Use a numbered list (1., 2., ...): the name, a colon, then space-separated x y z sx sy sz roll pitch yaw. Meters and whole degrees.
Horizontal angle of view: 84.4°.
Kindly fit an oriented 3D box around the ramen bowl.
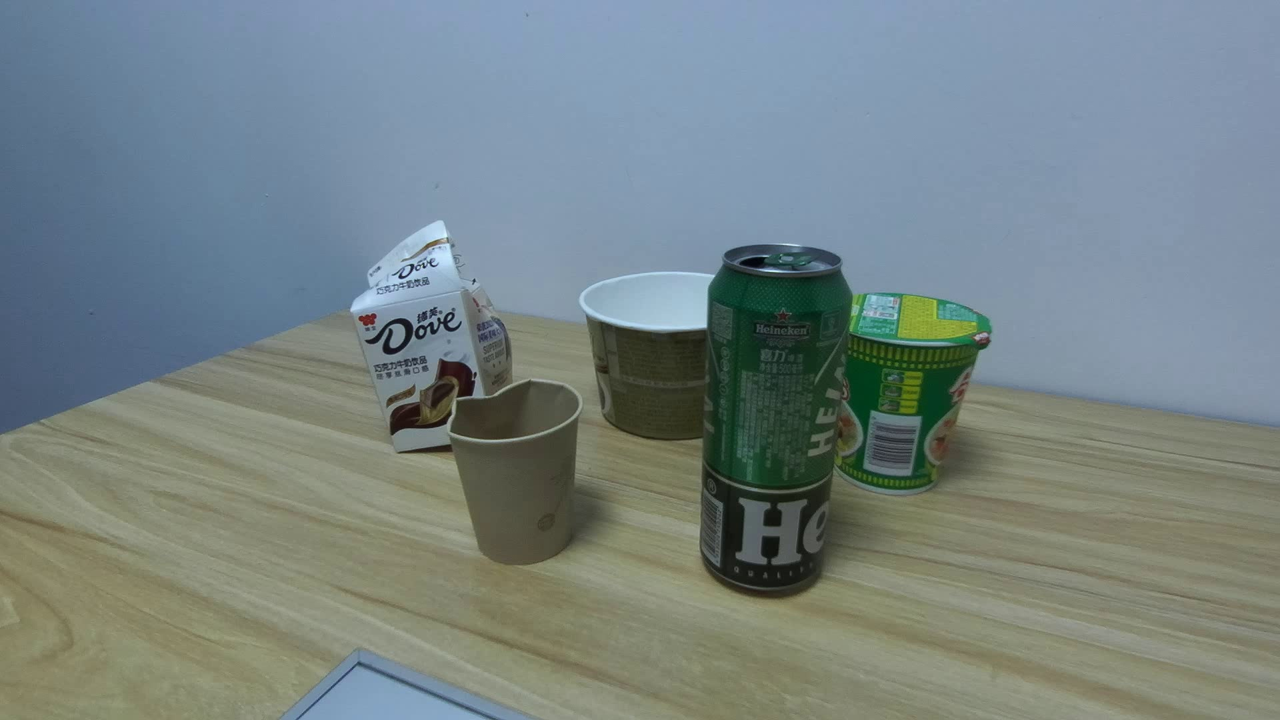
1. ramen bowl: 0.025 -0.005 0.545 0.140 0.095 0.140 1 23 0

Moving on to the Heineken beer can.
1. Heineken beer can: 0.065 0.032 0.352 0.067 0.169 0.067 0 21 0

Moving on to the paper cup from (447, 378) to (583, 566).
1. paper cup: -0.065 0.063 0.392 0.069 0.081 0.073 -2 21 -5

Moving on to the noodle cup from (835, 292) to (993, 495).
1. noodle cup: 0.164 0.023 0.452 0.097 0.110 0.097 0 22 0

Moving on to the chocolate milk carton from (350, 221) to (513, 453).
1. chocolate milk carton: -0.147 -0.016 0.508 0.089 0.156 0.076 -14 21 1
